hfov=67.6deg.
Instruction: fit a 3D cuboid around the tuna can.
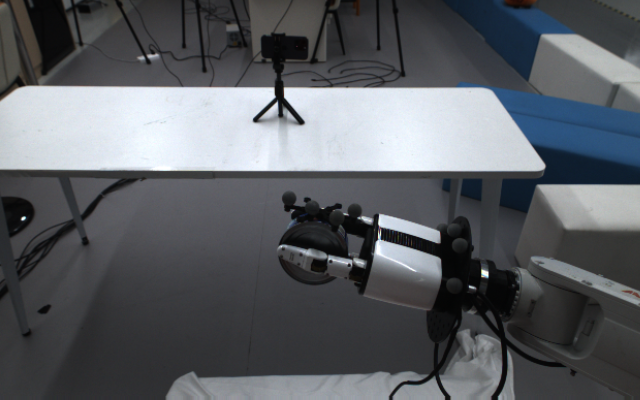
[{"bbox_3d":[-0.006,0.059,0.598,0.085,0.085,0.034,5,18,4],"label":"tuna can"}]
